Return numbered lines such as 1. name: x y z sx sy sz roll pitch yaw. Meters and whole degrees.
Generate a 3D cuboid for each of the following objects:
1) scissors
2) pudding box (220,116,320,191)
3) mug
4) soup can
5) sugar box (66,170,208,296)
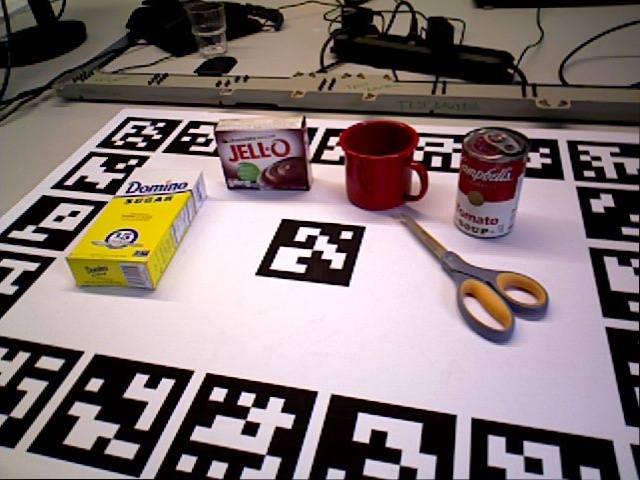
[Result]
1. scissors: 0.146 0.035 0.538 0.087 0.016 0.202 -30 47 -11
2. pudding box: -0.058 -0.107 0.664 0.114 0.092 0.038 0 48 6
3. mug: 0.086 -0.086 0.633 0.092 0.083 0.116 -20 42 -12
4. soup can: 0.189 -0.051 0.576 0.068 0.104 0.067 -4 40 3
5. sugar box: -0.202 -0.014 0.625 0.093 0.046 0.173 2 44 13
